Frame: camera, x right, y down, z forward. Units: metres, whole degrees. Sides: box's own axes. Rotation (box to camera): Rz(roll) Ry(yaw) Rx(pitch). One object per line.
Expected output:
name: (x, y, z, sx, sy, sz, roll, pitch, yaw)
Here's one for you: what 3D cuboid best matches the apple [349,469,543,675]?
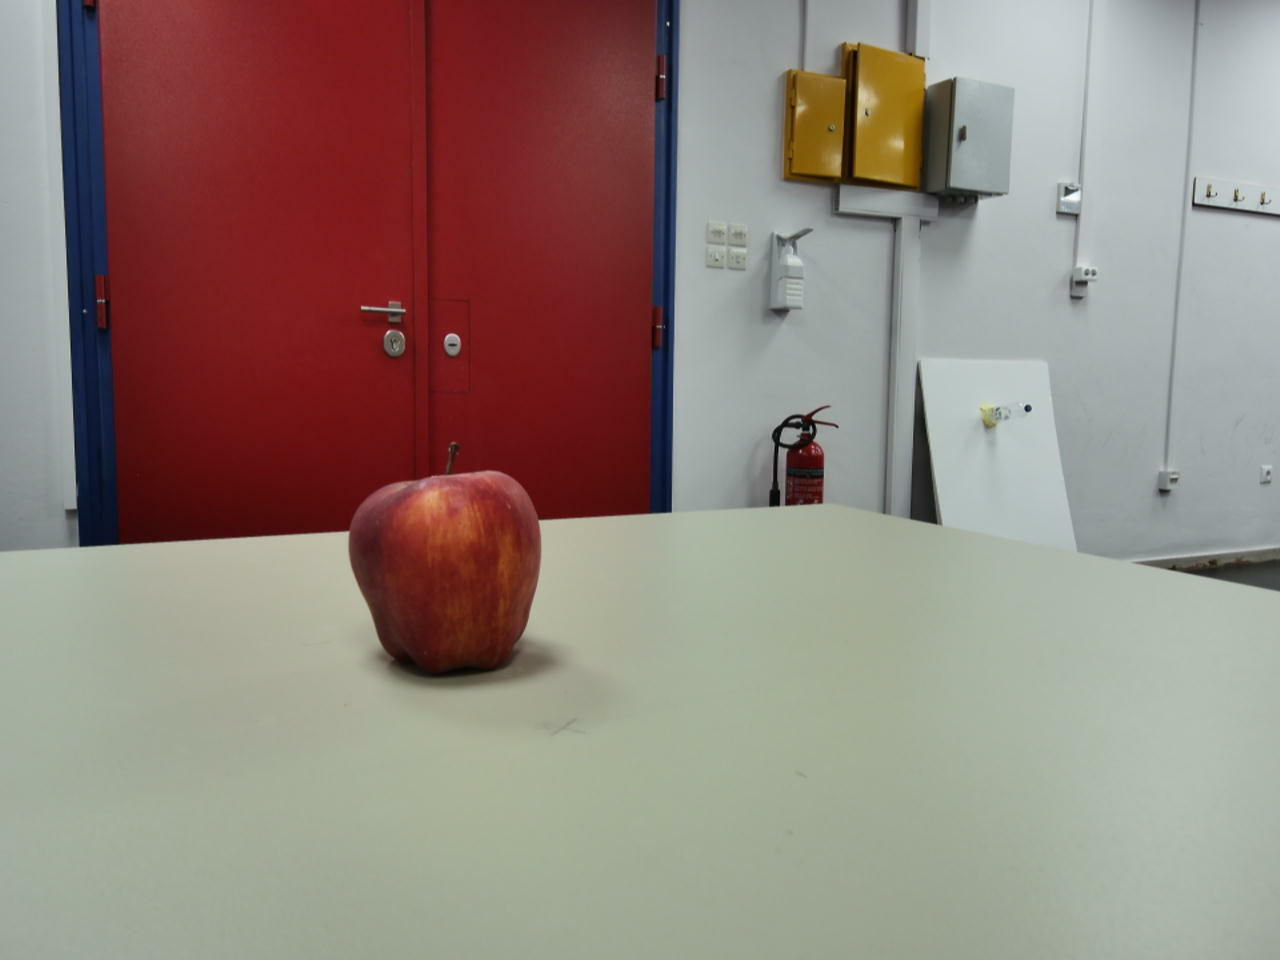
apple: (-0.080, 0.031, 0.412, 0.083, 0.090, 0.083, 1, 4, 0)
